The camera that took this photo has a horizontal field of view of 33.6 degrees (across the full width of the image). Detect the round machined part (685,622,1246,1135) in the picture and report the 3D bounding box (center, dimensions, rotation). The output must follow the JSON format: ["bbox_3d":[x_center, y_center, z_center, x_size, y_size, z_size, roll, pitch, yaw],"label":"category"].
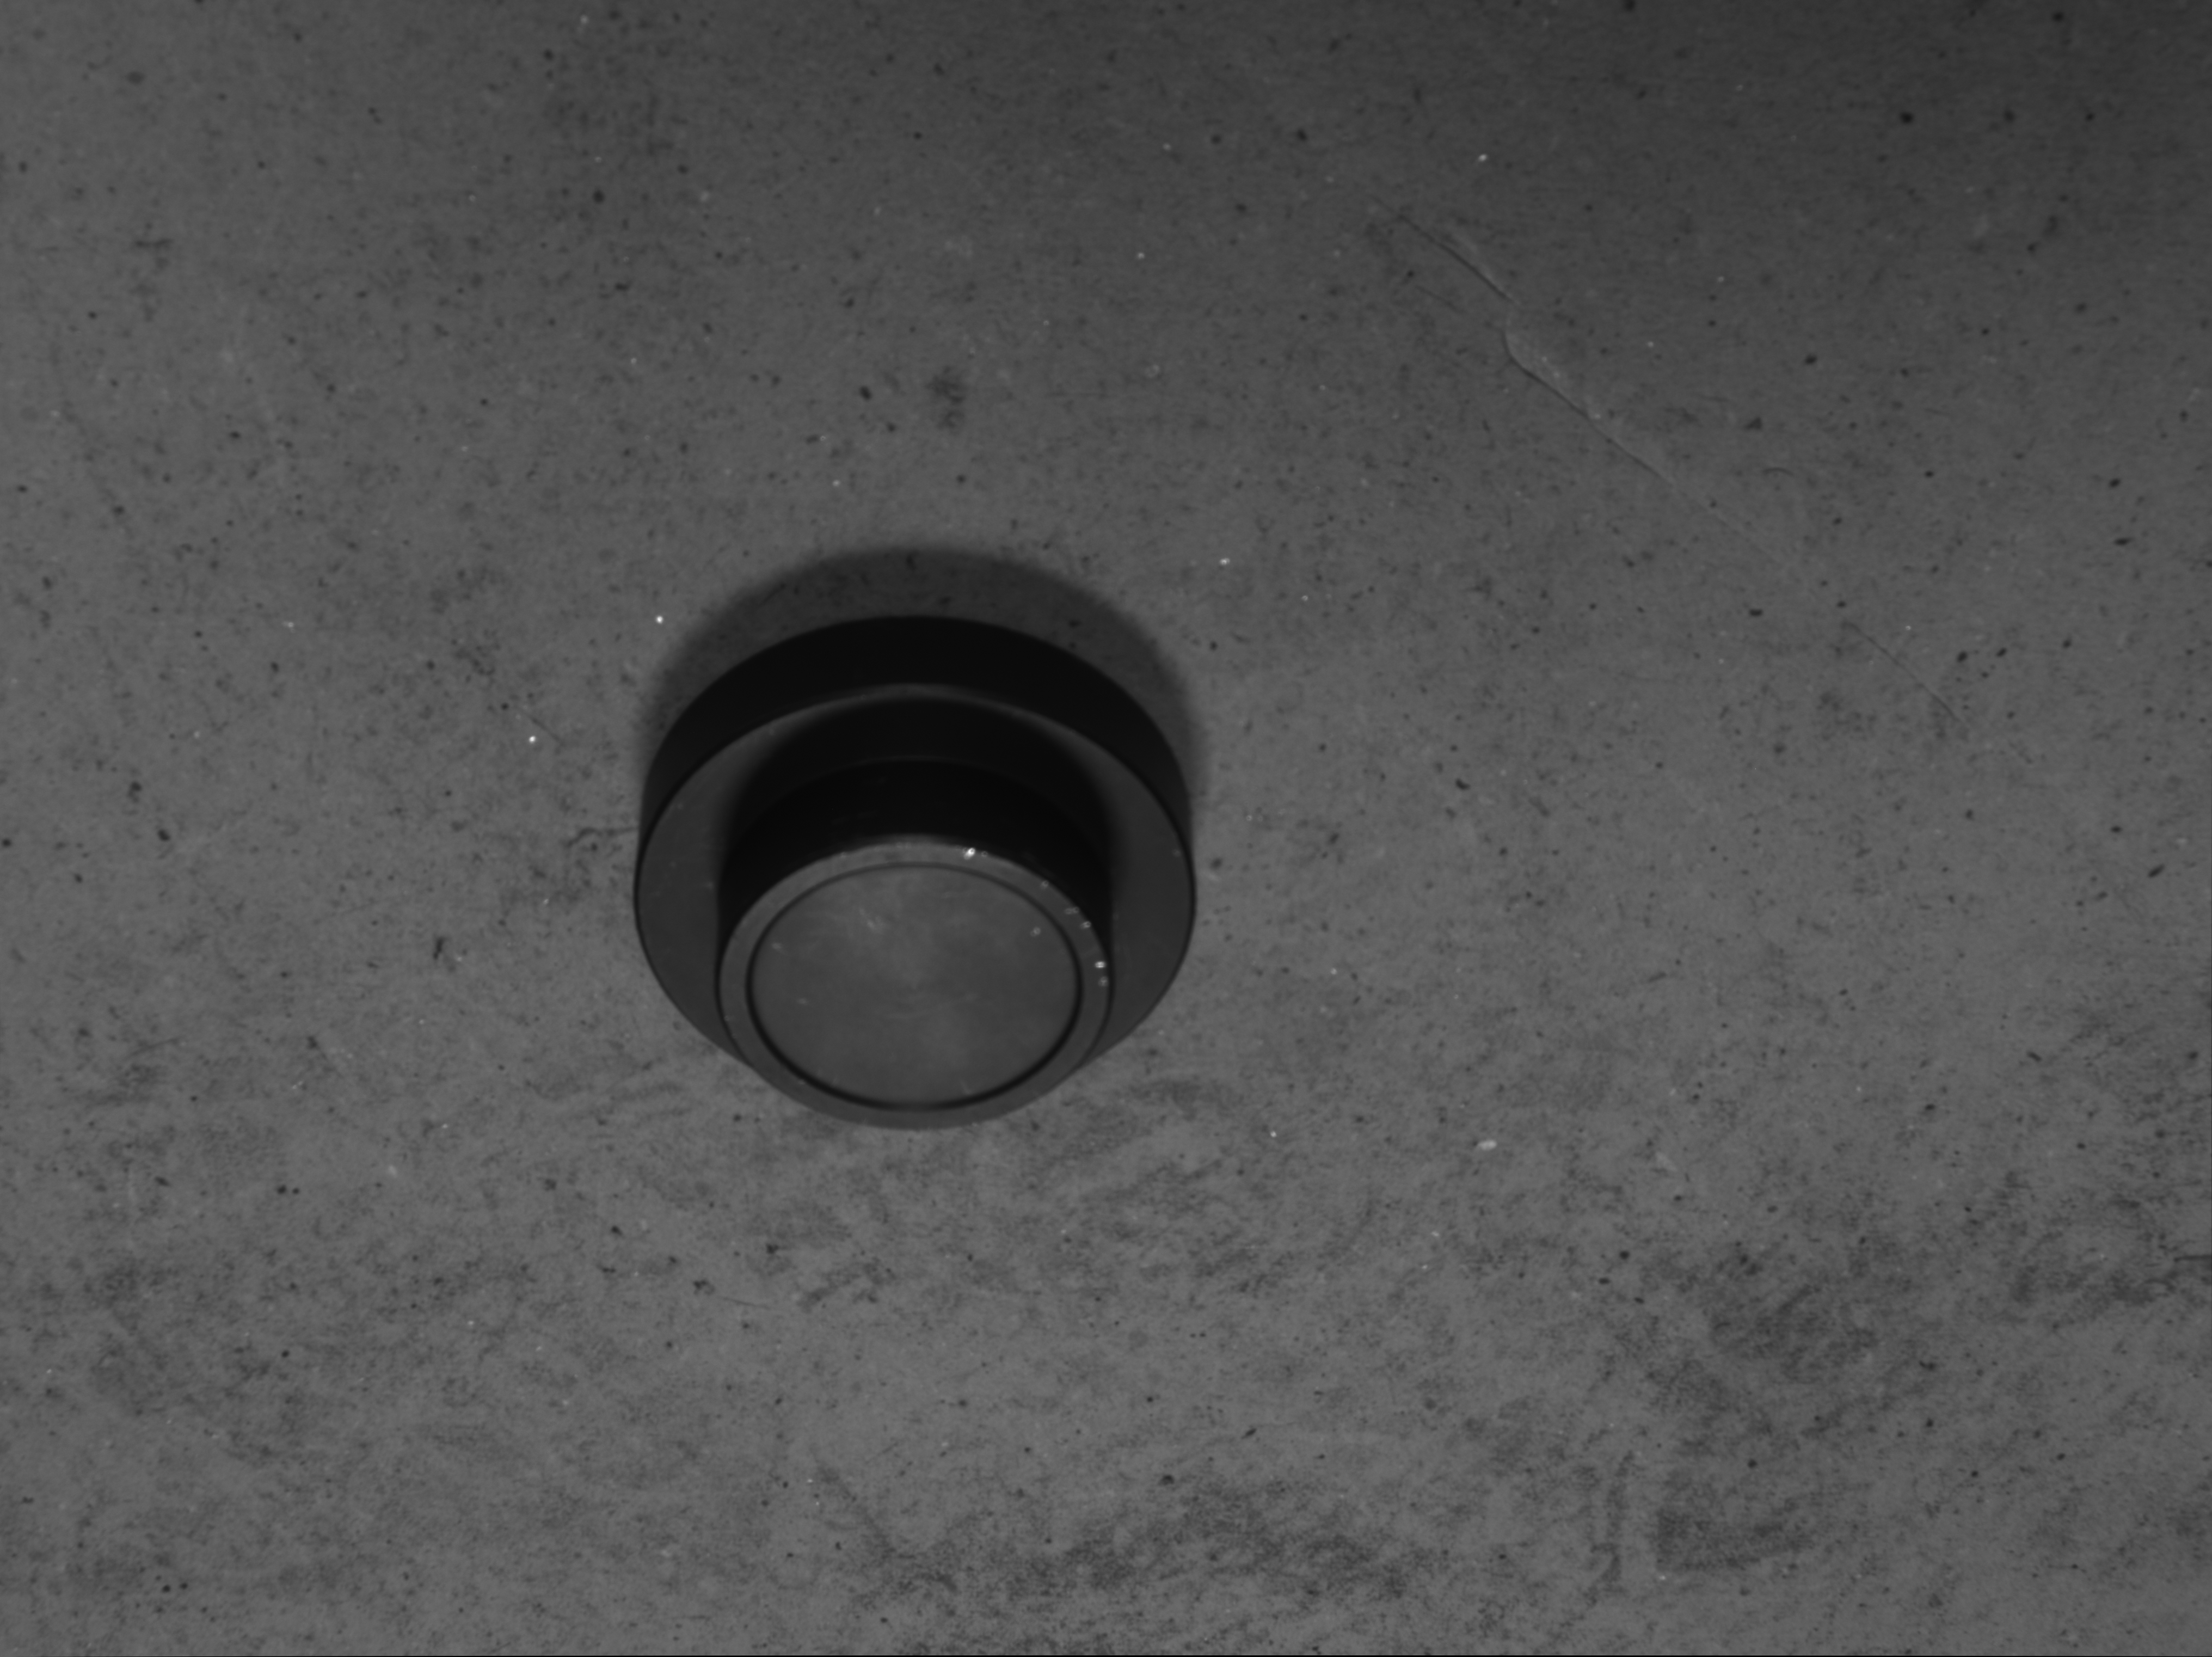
[{"bbox_3d":[-0.024,0.015,0.639,0.098,0.042,0.098,-1,130,-1],"label":"round machined part"}]
